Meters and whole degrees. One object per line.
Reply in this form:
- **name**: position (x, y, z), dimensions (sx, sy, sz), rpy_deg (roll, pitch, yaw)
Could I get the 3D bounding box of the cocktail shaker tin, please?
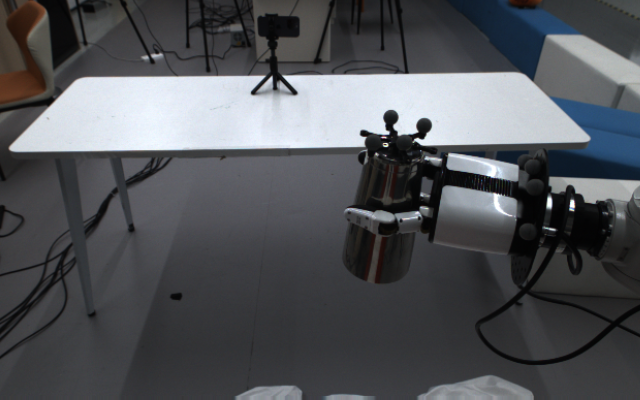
- **cocktail shaker tin**: position (0.083, 0.009, 0.598), dimensions (0.093, 0.170, 0.093), rpy_deg (3, 36, -3)
